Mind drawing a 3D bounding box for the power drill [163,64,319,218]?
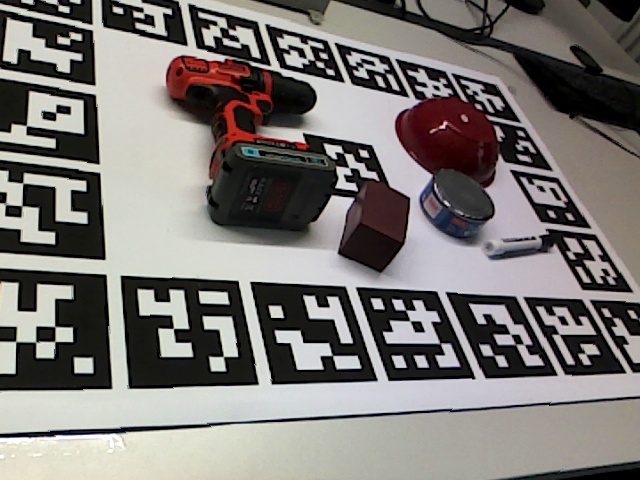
[{"bbox_3d":[-0.067,-0.110,0.663,0.183,0.057,0.188,6,45,-32],"label":"power drill"}]

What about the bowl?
[{"bbox_3d":[0.180,-0.145,0.861,0.161,0.055,0.162,15,38,-13],"label":"bowl"}]

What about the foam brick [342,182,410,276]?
[{"bbox_3d":[0.060,-0.012,0.655,0.051,0.053,0.078,24,43,-13],"label":"foam brick"}]

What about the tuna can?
[{"bbox_3d":[0.170,-0.048,0.761,0.085,0.034,0.086,19,42,-19],"label":"tuna can"}]

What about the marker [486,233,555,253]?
[{"bbox_3d":[0.255,0.003,0.775,0.120,0.020,0.020,-4,55,-35],"label":"marker"}]
